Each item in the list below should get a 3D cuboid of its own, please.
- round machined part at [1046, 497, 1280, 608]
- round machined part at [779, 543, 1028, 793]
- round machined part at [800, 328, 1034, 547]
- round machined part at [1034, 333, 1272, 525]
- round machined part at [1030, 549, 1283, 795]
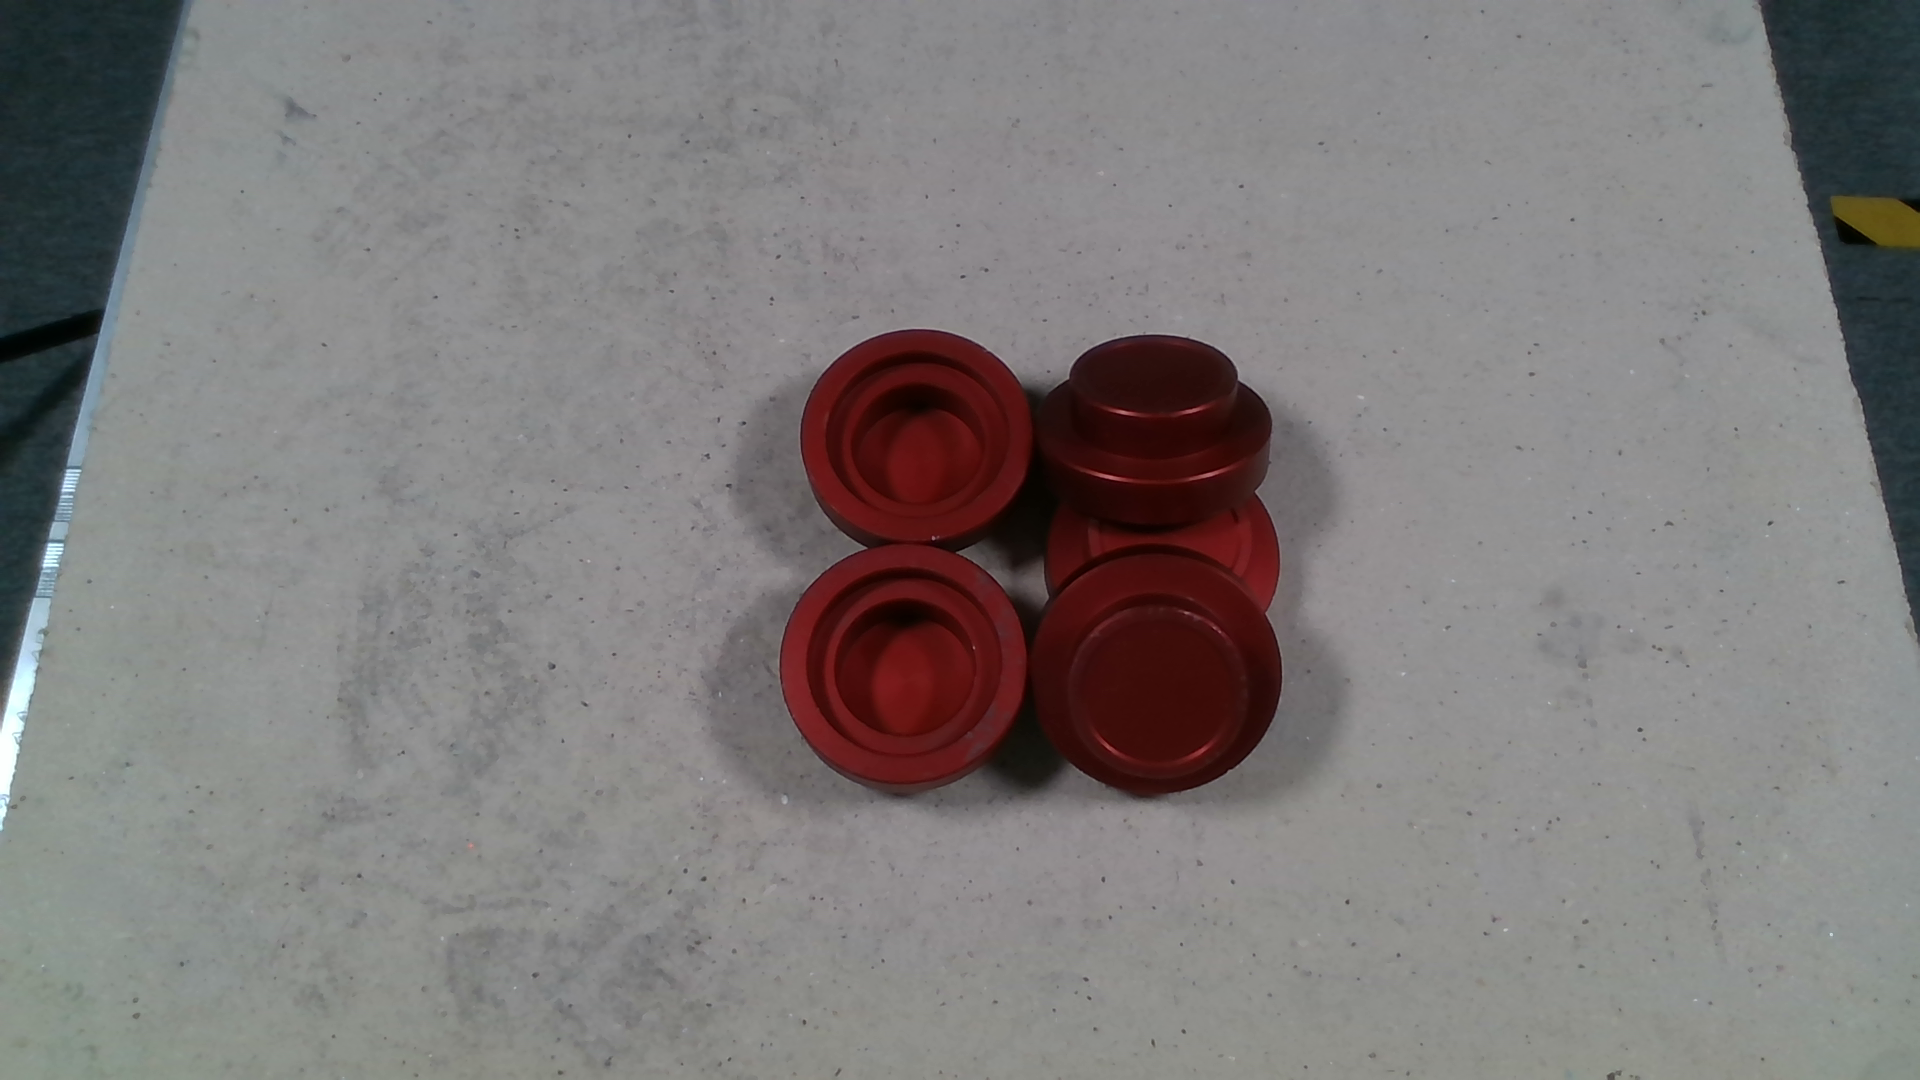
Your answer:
[{"bbox_3d":[0.085,0.004,0.577,0.098,0.042,0.098,0,70,0],"label":"round machined part"},{"bbox_3d":[-0.022,0.054,0.560,0.098,0.042,0.098,0,70,0],"label":"round machined part"},{"bbox_3d":[-0.018,-0.038,0.593,0.098,0.042,0.098,0,70,0],"label":"round machined part"},{"bbox_3d":[0.080,-0.051,0.572,0.098,0.042,0.098,-3,37,2],"label":"round machined part"},{"bbox_3d":[0.076,0.054,0.537,0.098,0.042,0.098,1,102,5],"label":"round machined part"}]
